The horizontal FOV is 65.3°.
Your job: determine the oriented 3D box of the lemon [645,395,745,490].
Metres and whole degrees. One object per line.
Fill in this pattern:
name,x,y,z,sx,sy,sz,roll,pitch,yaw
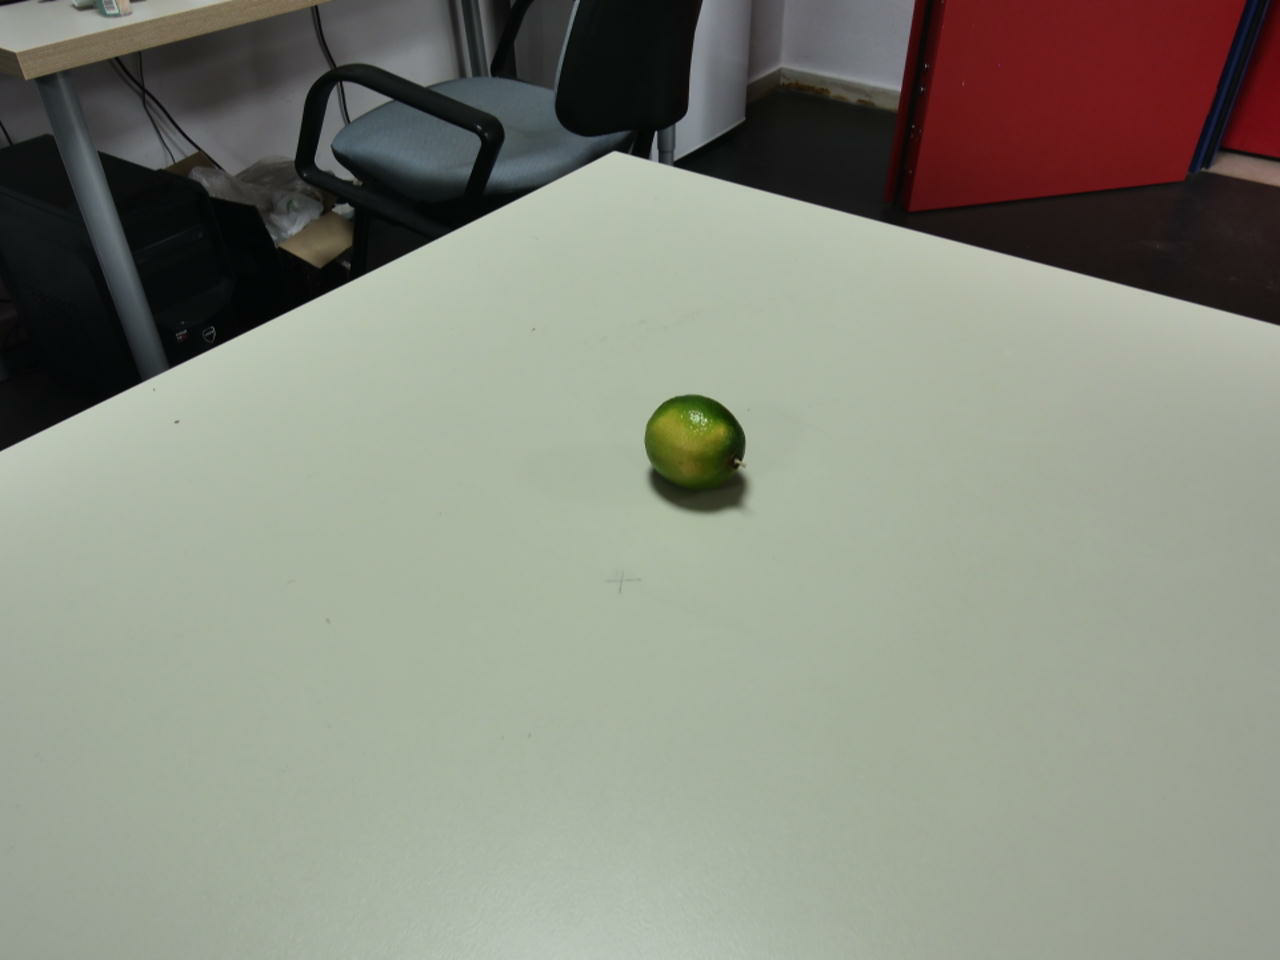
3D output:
lemon,0.030,-0.021,0.548,0.054,0.050,0.055,0,37,-2
